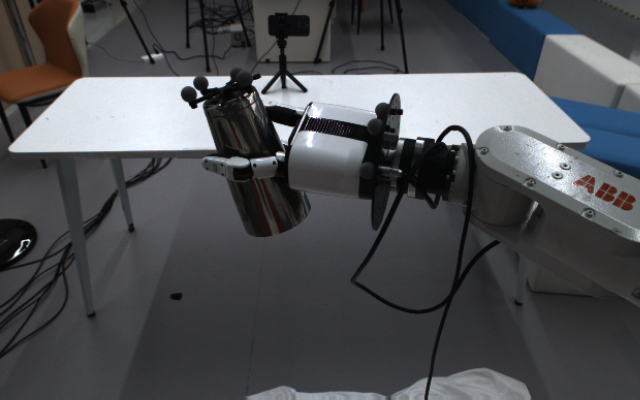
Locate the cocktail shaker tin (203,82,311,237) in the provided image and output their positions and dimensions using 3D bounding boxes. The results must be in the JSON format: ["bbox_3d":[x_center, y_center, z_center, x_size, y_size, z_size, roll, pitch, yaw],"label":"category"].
[{"bbox_3d":[-0.080,-0.049,0.598,0.093,0.170,0.093,-15,29,8],"label":"cocktail shaker tin"}]
